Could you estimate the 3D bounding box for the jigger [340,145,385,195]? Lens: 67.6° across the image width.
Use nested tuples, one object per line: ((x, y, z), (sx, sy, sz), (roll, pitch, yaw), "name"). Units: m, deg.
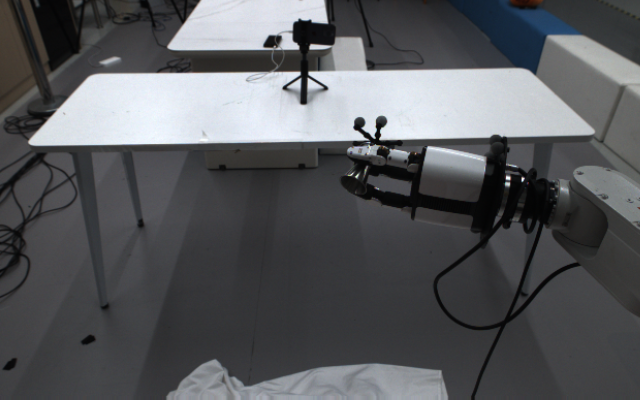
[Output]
((0.062, -0.052, 0.713), (0.043, 0.043, 0.071), (19, 61, 23), "jigger")
